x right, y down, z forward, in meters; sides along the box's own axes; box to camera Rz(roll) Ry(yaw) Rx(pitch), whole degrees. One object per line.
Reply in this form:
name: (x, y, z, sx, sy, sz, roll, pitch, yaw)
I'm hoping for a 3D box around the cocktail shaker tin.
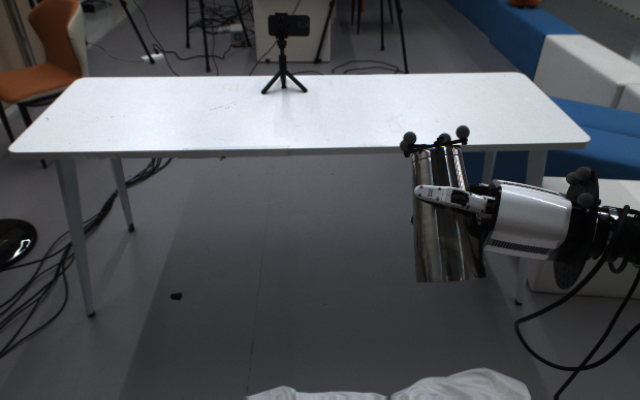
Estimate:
cocktail shaker tin: (0.165, 0.019, 0.643, 0.093, 0.170, 0.093, -6, -7, -1)
